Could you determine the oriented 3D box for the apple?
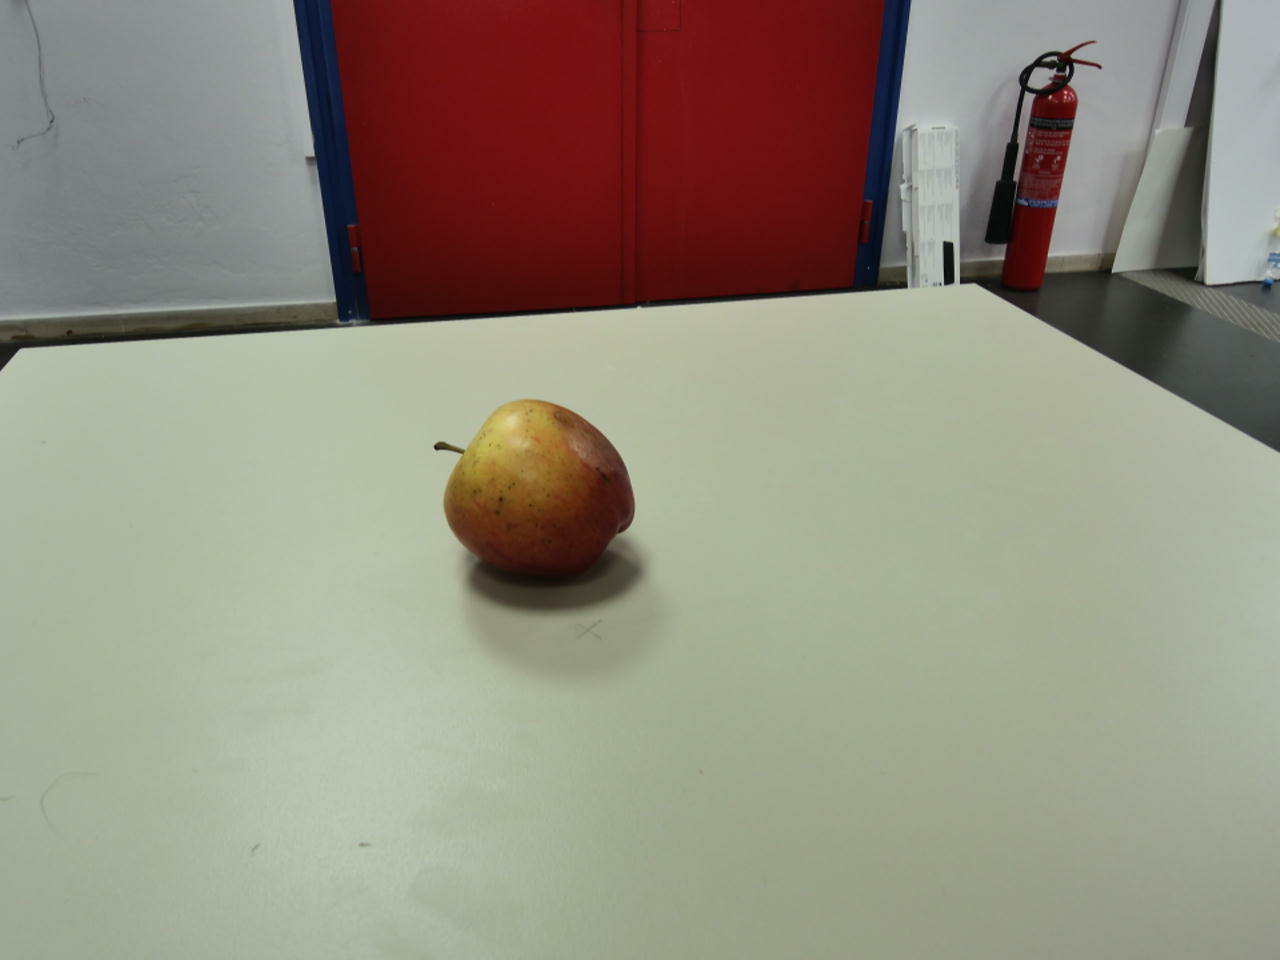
[{"bbox_3d":[-0.051,0.004,0.486,0.093,0.084,0.086,23,33,37],"label":"apple"}]
